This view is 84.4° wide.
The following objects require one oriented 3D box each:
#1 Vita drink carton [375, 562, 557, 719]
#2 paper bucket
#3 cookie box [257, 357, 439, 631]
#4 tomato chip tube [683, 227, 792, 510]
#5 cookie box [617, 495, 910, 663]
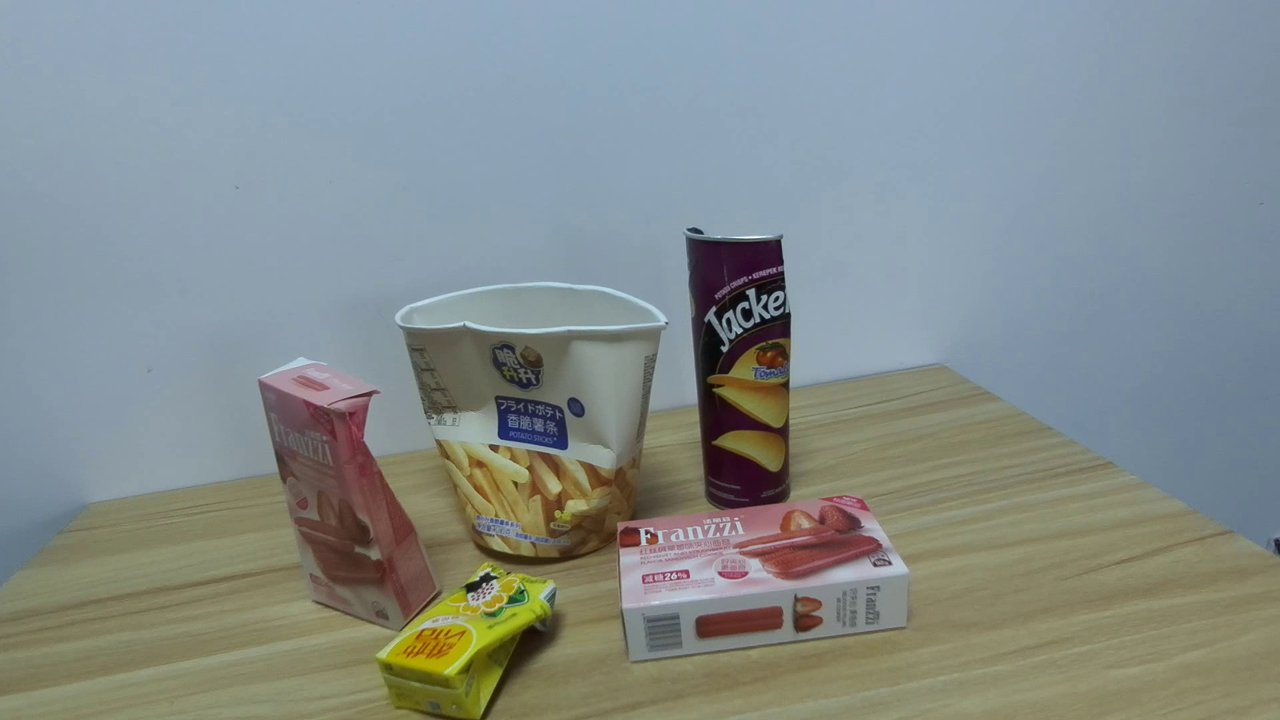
[{"bbox_3d":[-0.107,0.181,0.460,0.086,0.042,0.108,-3,15,27],"label":"Vita drink carton"},{"bbox_3d":[-0.083,0.047,0.591,0.218,0.199,0.147,-7,21,-2],"label":"paper bucket"},{"bbox_3d":[-0.208,0.099,0.508,0.118,0.184,0.055,8,25,33],"label":"cookie box"},{"bbox_3d":[0.084,0.009,0.592,0.076,0.235,0.077,-5,19,2],"label":"tomato chip tube"},{"bbox_3d":[0.078,0.147,0.490,0.184,0.048,0.096,-6,21,-1],"label":"cookie box"}]
